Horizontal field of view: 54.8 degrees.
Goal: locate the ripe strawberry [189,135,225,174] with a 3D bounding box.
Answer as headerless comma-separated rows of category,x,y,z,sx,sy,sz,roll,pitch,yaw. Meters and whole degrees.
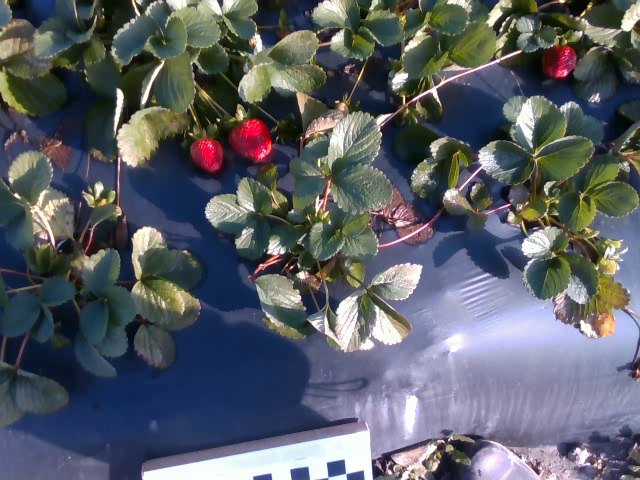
ripe strawberry,-0.128,-0.093,0.698,0.043,0.052,0.036,-47,-26,17

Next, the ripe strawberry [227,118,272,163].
ripe strawberry,-0.075,-0.111,0.705,0.052,0.058,0.046,-38,-26,13
